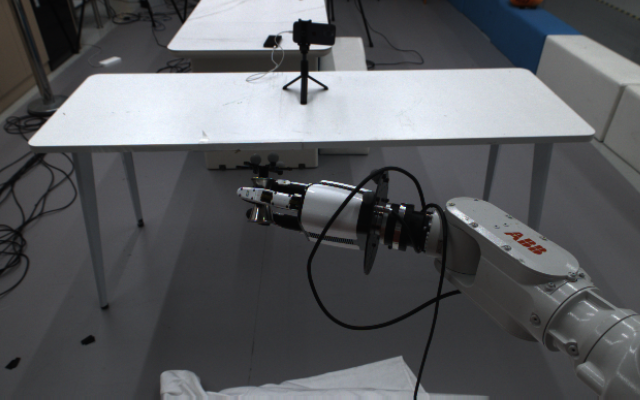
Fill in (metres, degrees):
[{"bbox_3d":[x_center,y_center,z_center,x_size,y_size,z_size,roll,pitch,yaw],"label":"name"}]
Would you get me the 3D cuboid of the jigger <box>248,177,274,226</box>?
[{"bbox_3d":[-0.090,0.001,0.750,0.043,0.071,0.043,2,-6,0],"label":"jigger"}]
